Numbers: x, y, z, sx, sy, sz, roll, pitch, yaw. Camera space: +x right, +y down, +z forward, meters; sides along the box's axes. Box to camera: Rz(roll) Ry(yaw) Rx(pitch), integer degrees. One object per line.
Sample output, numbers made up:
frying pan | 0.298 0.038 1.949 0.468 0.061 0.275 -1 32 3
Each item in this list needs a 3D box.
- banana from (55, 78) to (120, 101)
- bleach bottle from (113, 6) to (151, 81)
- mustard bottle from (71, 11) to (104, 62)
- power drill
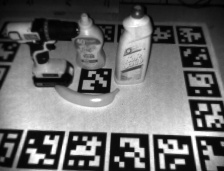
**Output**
banana | -0.076 0.009 0.647 0.197 0.039 0.074 4 61 4
bleach bottle | 0.051 -0.111 0.611 0.103 0.252 0.067 -6 58 -2
mustard bottle | -0.075 -0.152 0.662 0.096 0.192 0.058 2 57 1
power drill | -0.180 -0.115 0.616 0.185 0.188 0.057 0 50 -2
